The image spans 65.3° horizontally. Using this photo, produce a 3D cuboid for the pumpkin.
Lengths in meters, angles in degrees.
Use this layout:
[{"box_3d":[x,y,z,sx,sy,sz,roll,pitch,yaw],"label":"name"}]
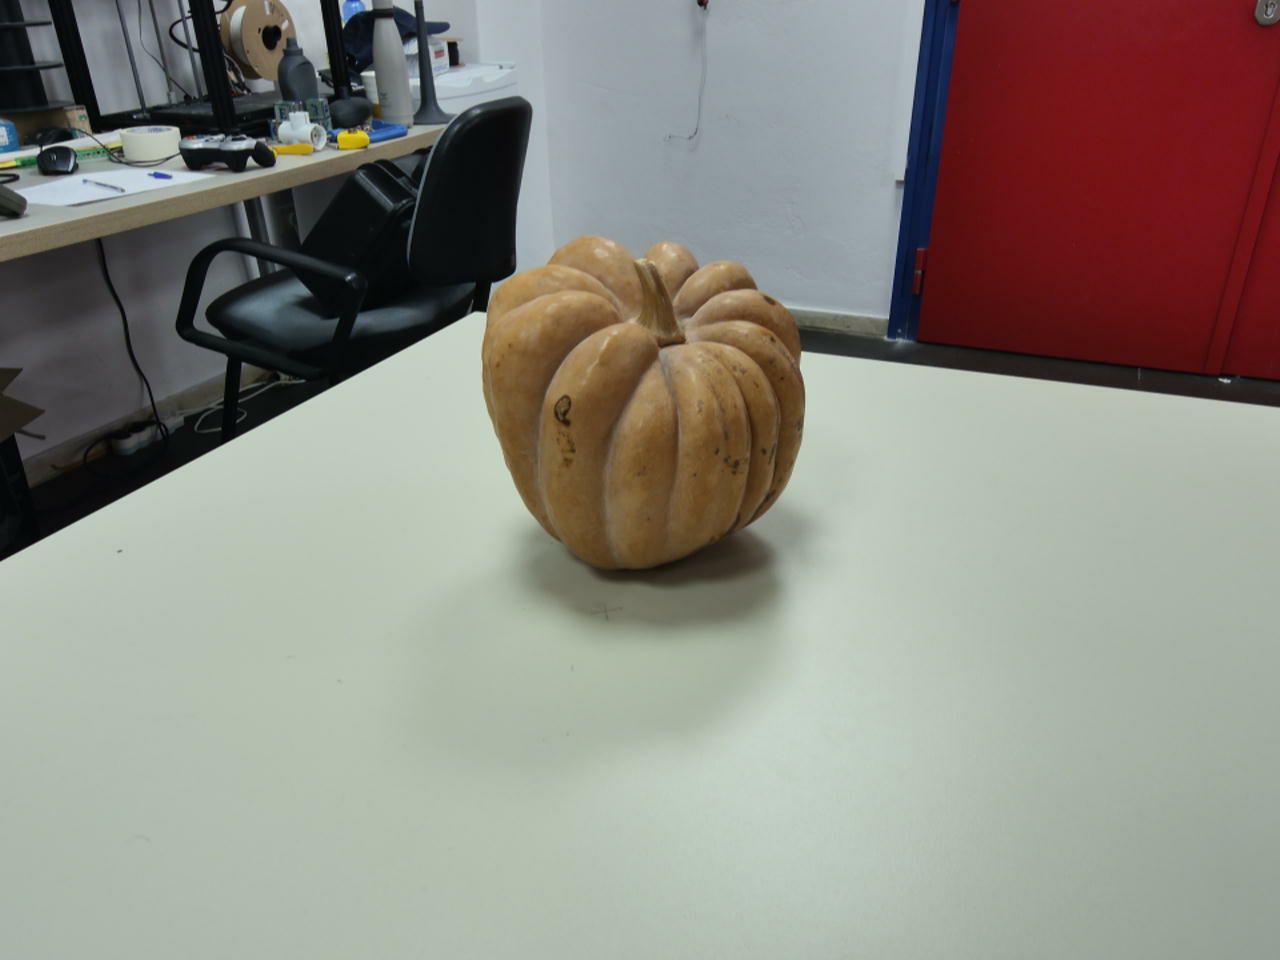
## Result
[{"box_3d":[0.001,-0.045,0.583,0.199,0.177,0.198,0,25,0],"label":"pumpkin"}]
